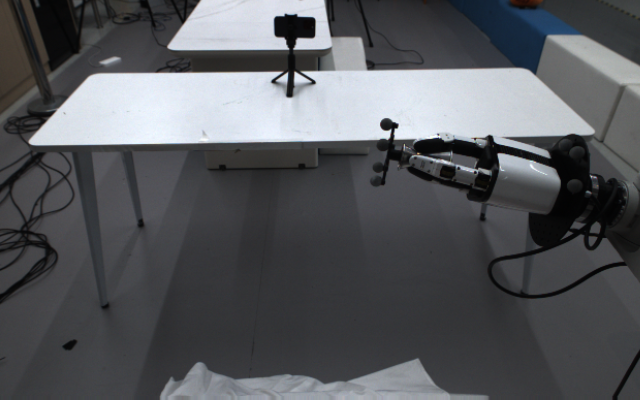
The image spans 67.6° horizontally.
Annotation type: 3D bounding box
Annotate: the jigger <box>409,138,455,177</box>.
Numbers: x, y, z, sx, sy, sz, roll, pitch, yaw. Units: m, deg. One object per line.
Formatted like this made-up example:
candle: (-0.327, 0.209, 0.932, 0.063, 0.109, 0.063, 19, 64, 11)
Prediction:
jigger: (0.152, -0.058, 0.680, 0.071, 0.043, 0.043, 11, 35, 4)
